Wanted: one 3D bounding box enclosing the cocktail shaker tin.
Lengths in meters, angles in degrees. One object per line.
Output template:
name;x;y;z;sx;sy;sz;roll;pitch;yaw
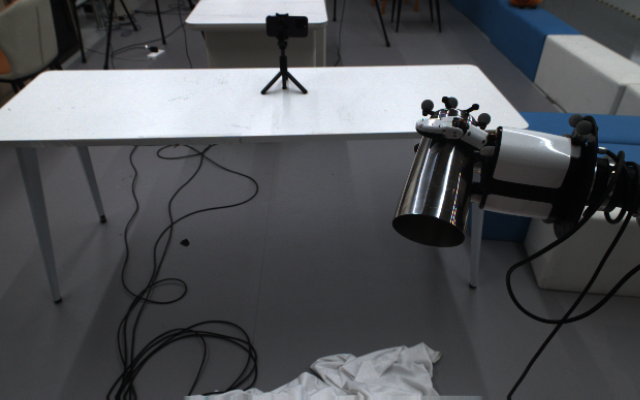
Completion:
cocktail shaker tin;0.162;-0.038;0.638;0.093;0.093;0.170;13;65;15
